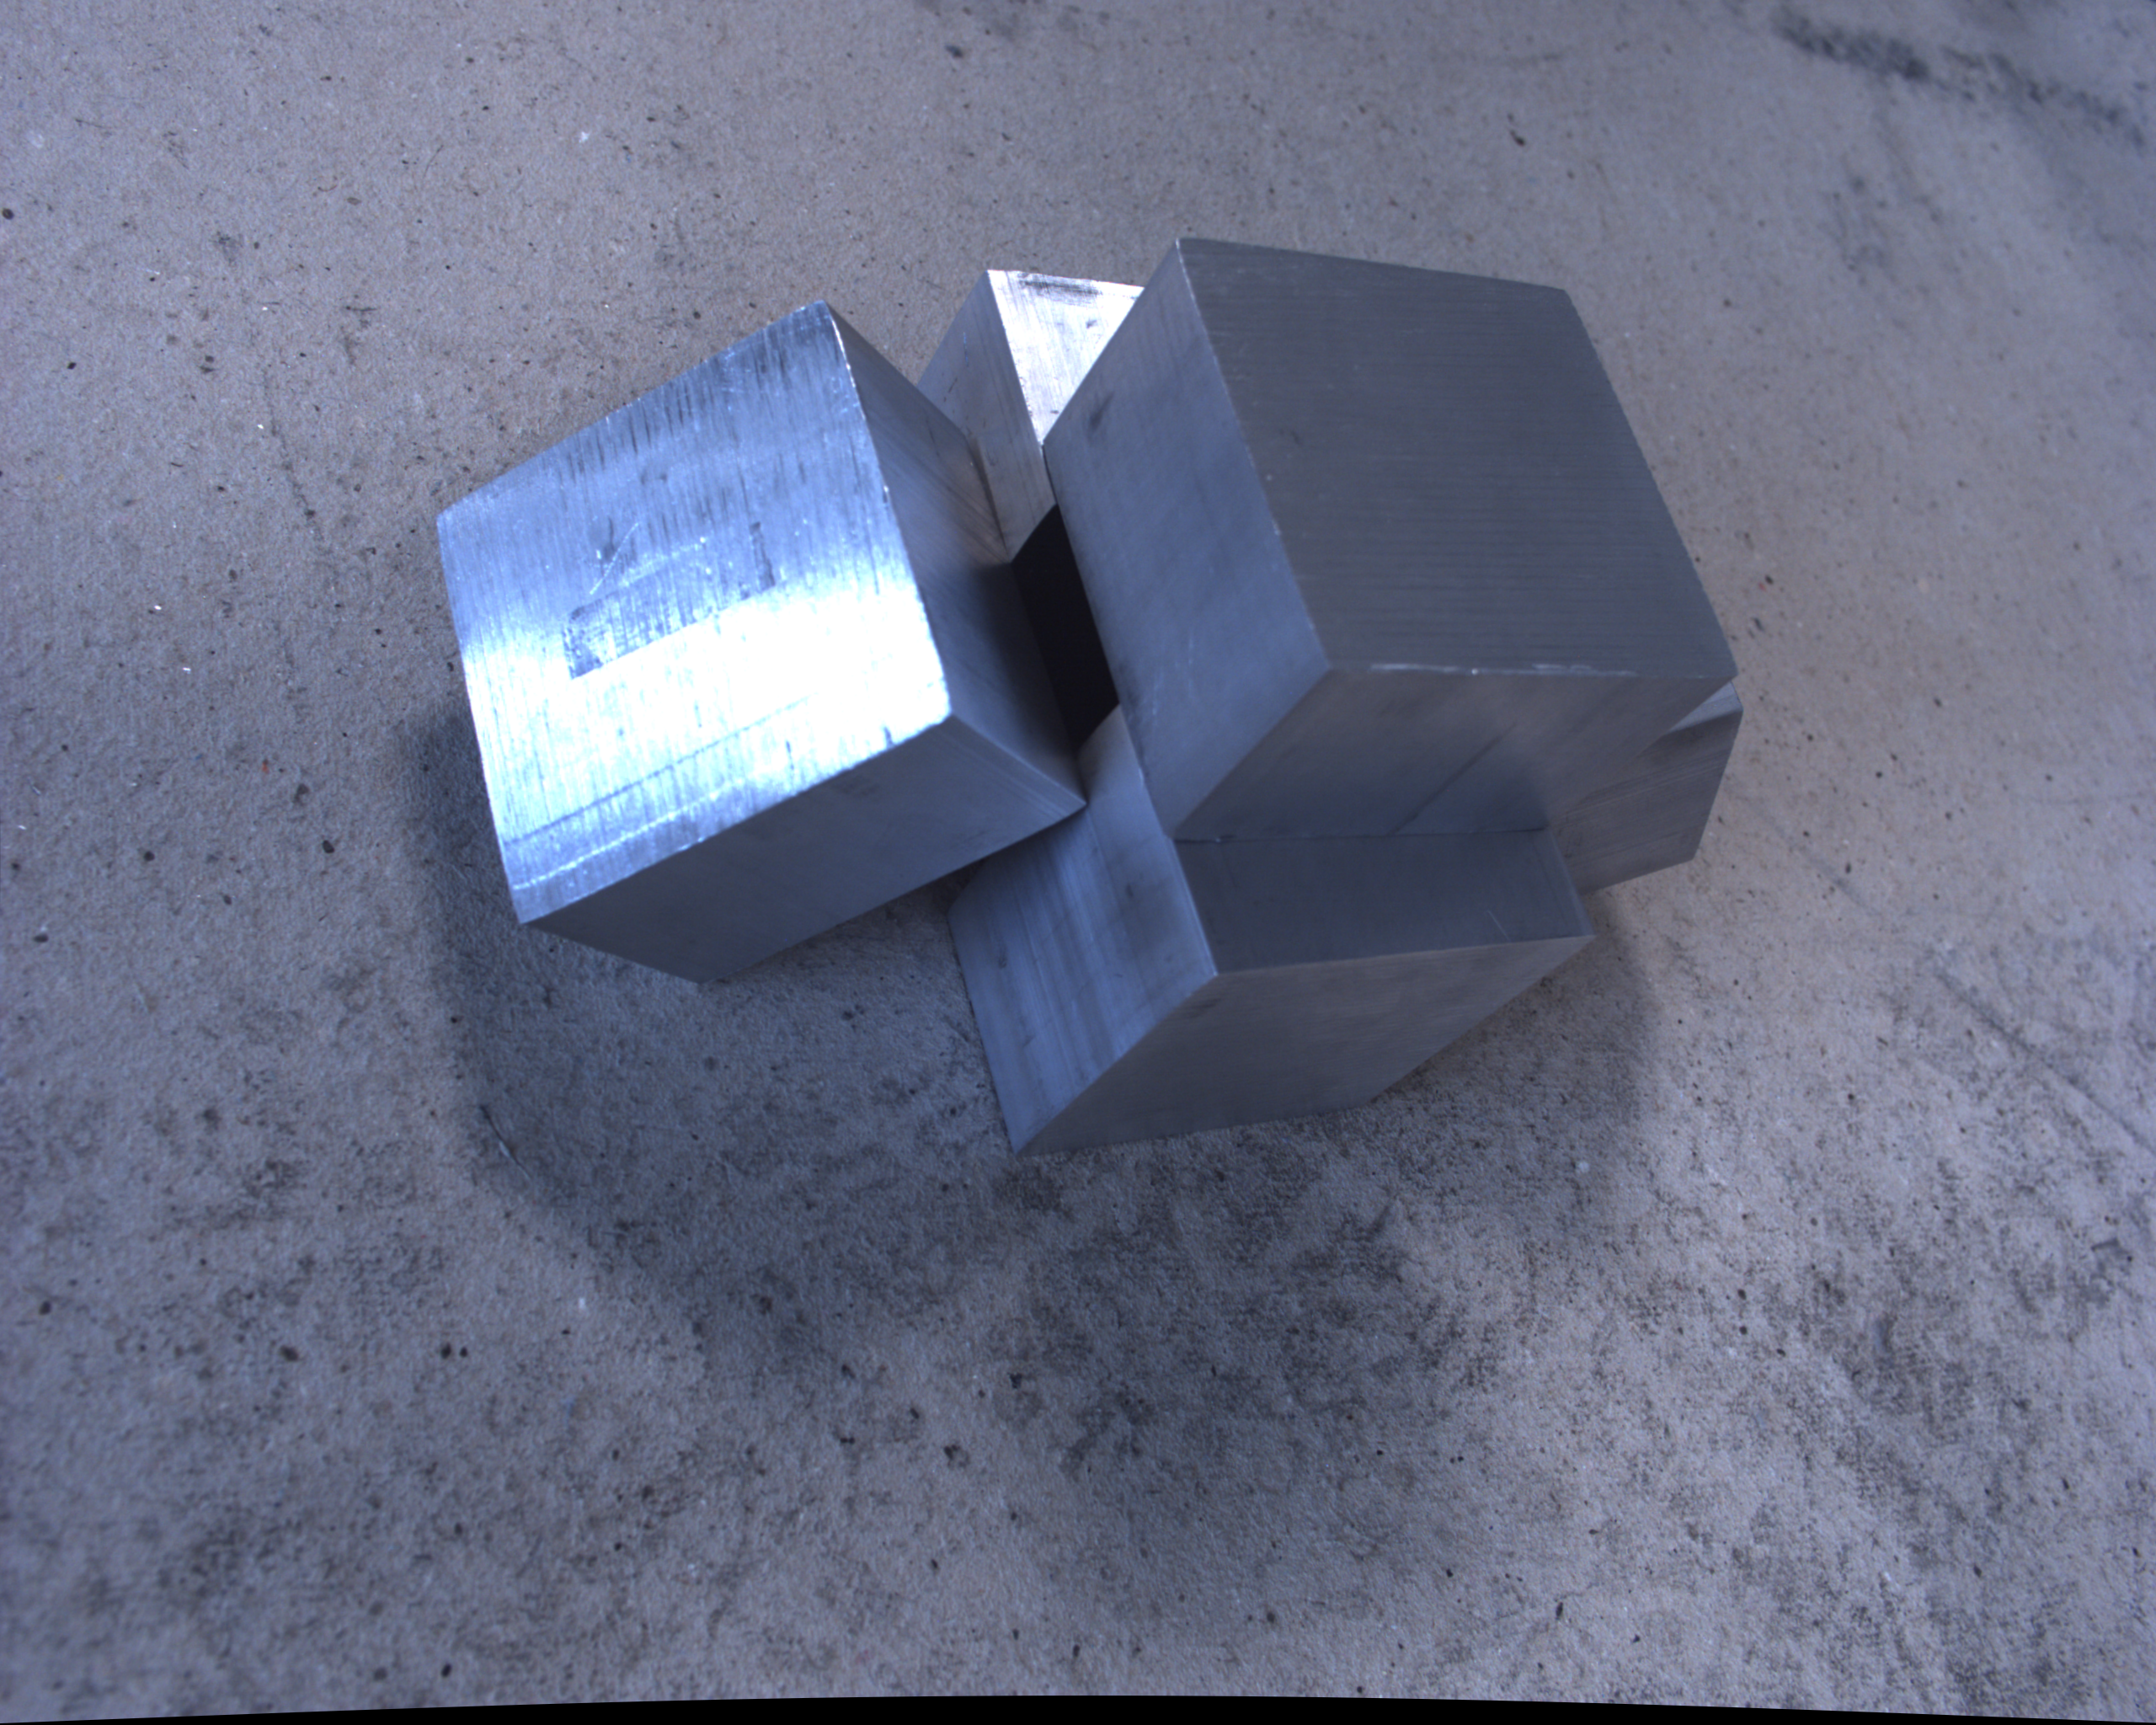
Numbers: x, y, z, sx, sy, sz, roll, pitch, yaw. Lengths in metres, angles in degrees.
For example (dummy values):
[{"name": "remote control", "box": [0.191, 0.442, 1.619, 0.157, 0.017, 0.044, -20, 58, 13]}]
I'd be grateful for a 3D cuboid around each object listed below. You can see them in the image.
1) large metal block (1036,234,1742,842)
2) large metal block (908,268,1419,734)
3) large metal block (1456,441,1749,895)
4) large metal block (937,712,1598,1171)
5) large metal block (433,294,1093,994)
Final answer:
[{"name": "large metal block", "box": [0.049, -0.051, 0.344, 0.081, 0.050, 0.080, -2, 63, -29]}, {"name": "large metal block", "box": [0.008, -0.067, 0.416, 0.081, 0.080, 0.050, -2, 63, -30]}, {"name": "large metal block", "box": [0.094, -0.042, 0.436, 0.050, 0.080, 0.080, -18, 67, 2]}, {"name": "large metal block", "box": [0.031, 0.013, 0.380, 0.081, 0.080, 0.050, -4, 64, -30]}, {"name": "large metal block", "box": [-0.054, -0.034, 0.353, 0.050, 0.080, 0.080, 34, 35, -62]}]
